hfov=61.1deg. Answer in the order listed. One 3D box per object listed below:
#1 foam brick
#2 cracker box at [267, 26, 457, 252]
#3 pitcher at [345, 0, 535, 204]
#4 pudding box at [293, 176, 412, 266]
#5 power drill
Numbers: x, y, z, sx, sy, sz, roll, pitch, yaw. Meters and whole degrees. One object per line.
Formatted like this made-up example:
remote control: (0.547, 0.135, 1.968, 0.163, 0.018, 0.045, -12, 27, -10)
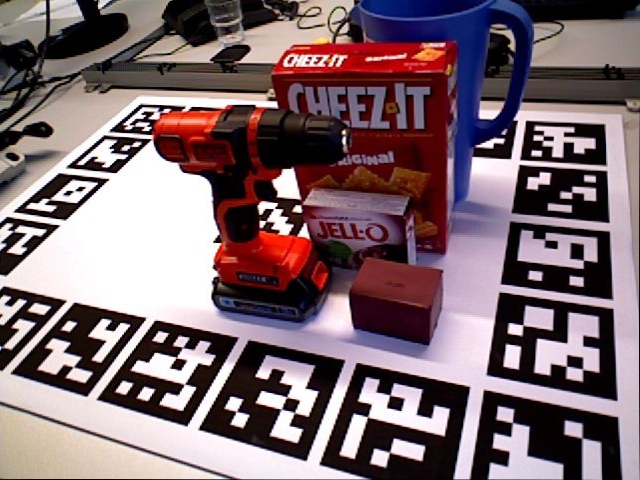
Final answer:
foam brick: (0.071, 0.055, 0.515, 0.078, 0.052, 0.051, 9, 47, 22)
cracker box: (0.050, -0.090, 0.548, 0.165, 0.217, 0.070, 5, 42, 21)
pitcher: (0.127, -0.155, 0.594, 0.190, 0.247, 0.130, 11, 46, 26)
pudding box: (0.035, -0.018, 0.556, 0.114, 0.091, 0.038, 6, 43, 23)
power drill: (-0.053, -0.037, 0.492, 0.185, 0.191, 0.056, 7, 41, 19)
